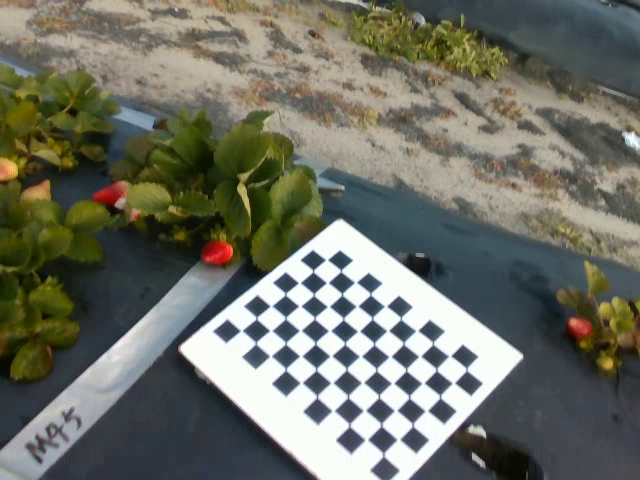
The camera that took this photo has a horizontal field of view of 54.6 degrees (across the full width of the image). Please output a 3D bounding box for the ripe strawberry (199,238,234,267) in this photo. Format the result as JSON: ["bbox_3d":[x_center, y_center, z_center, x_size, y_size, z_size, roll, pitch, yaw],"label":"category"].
[{"bbox_3d":[-0.122,0.010,0.711,0.050,0.035,0.055,37,43,12],"label":"ripe strawberry"}]
